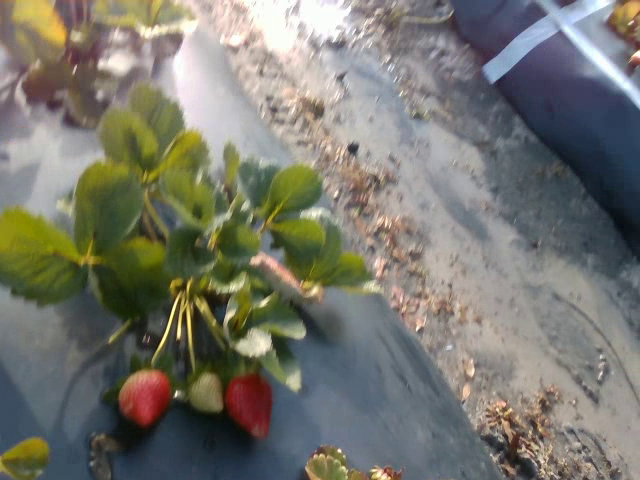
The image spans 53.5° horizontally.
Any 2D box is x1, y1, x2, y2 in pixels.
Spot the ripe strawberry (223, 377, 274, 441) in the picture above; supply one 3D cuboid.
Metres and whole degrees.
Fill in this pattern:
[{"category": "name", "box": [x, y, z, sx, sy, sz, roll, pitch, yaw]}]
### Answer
[{"category": "ripe strawberry", "box": [-0.052, 0.144, 0.533, 0.048, 0.065, 0.050, -19, -24, 1]}]
